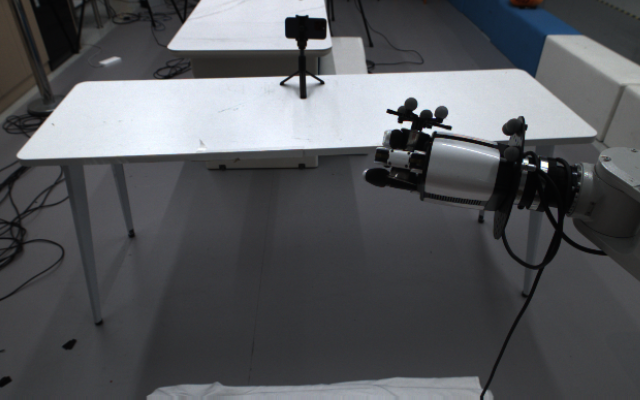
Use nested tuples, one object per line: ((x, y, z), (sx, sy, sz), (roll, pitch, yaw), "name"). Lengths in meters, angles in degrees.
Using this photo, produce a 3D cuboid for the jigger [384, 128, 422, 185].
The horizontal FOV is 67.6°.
((0.119, -0.059, 0.649), (0.043, 0.071, 0.043), (17, 2, -1), "jigger")
